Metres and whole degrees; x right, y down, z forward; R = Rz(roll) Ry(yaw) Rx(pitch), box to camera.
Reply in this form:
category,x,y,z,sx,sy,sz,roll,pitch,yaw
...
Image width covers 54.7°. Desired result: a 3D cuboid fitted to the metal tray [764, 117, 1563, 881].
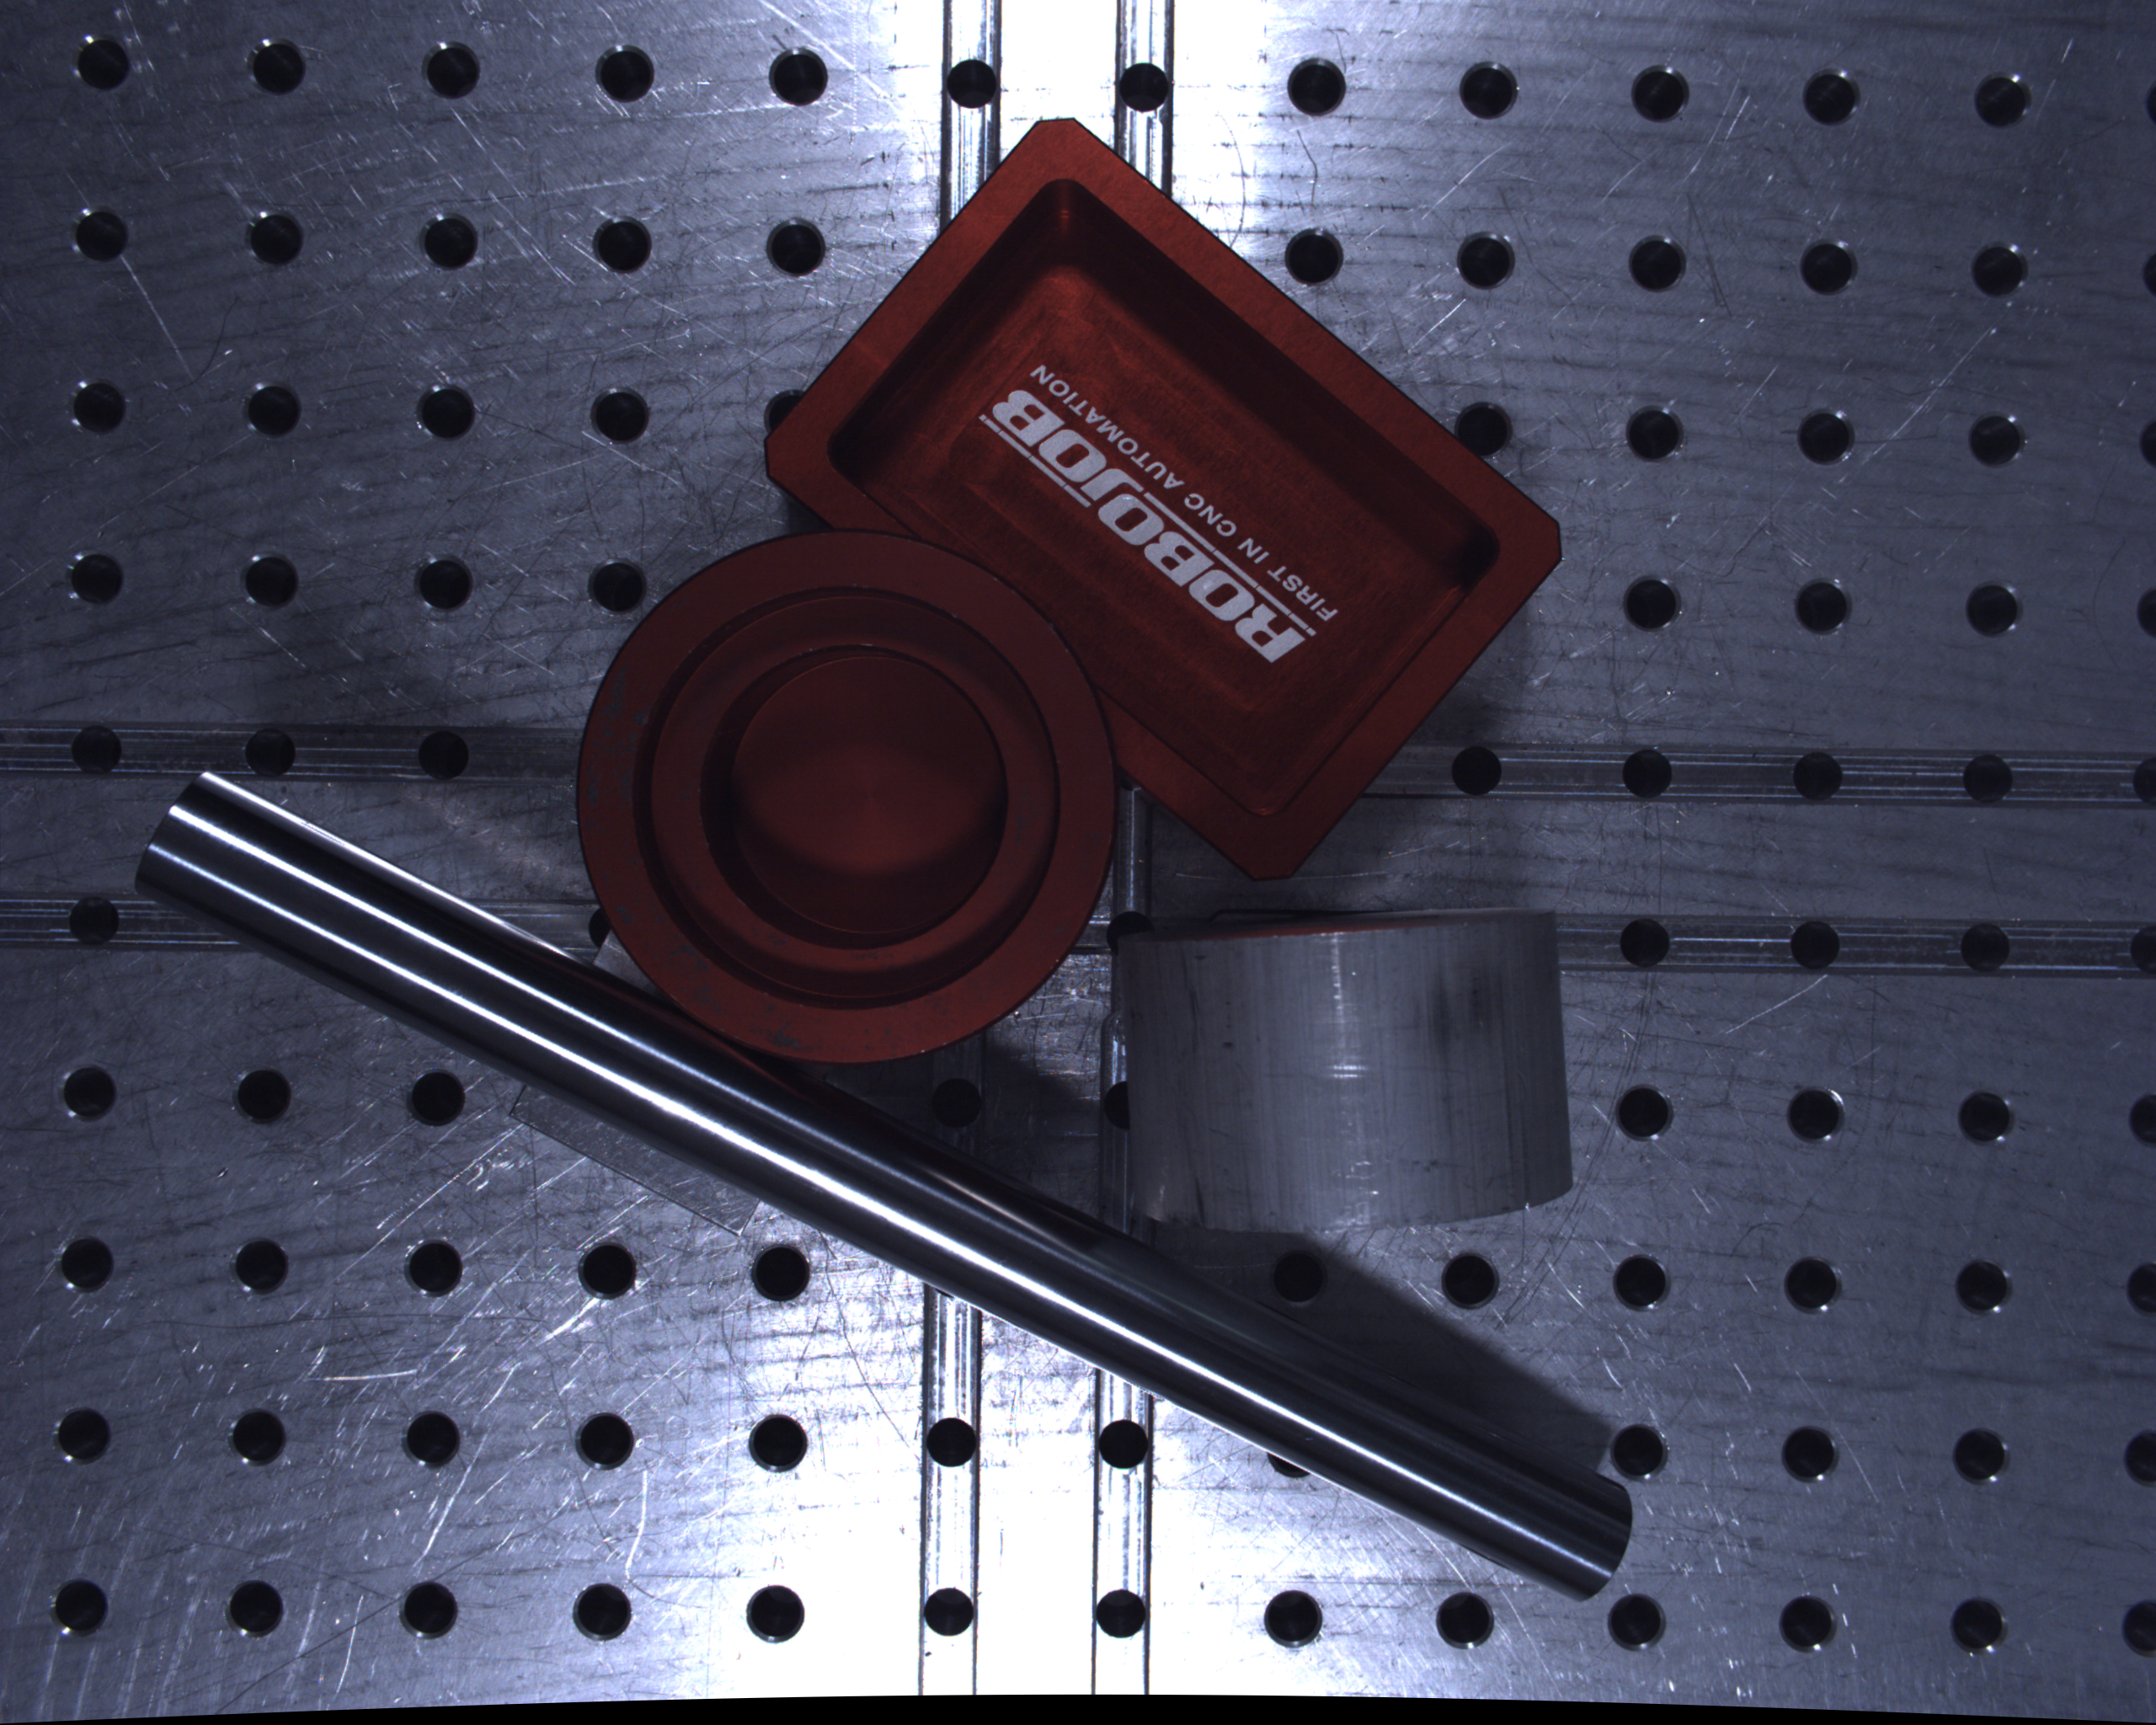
category,x,y,z,sx,sy,sz,roll,pitch,yaw
metal tray,0.016,-0.069,0.410,0.130,0.030,0.090,40,89,0

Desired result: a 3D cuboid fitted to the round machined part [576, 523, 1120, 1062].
category,x,y,z,sx,sy,sz,roll,pitch,yaw
round machined part,-0.041,-0.013,0.396,0.099,0.042,0.097,0,90,1

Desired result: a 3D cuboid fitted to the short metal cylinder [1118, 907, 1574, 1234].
category,x,y,z,sx,sy,sz,roll,pitch,yaw
short metal cylinder,0.049,0.036,0.385,0.081,0.080,0.050,-4,90,-1

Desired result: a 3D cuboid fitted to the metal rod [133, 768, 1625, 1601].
category,x,y,z,sx,sy,sz,roll,pitch,yaw
metal rod,-0.029,0.065,0.393,0.301,0.025,0.025,28,90,-9

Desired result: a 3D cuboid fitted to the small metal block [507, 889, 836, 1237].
category,x,y,z,sx,sy,sz,roll,pitch,yaw
small metal block,-0.075,0.038,0.413,0.050,0.025,0.050,28,90,-1
